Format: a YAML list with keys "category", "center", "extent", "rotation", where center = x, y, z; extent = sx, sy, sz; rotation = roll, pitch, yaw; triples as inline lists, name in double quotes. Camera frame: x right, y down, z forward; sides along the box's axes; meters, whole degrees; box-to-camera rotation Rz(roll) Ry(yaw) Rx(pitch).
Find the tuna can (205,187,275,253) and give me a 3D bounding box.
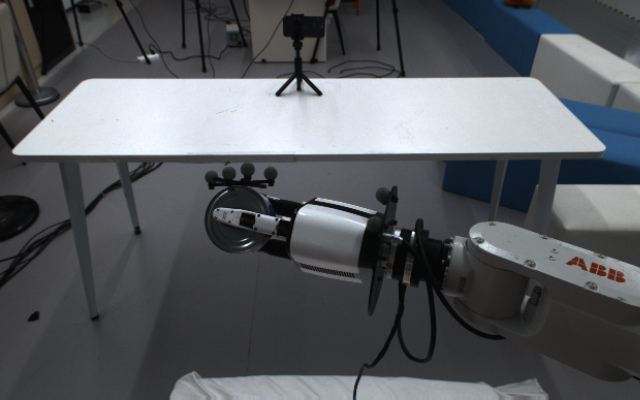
- category: "tuna can"
  center: [-0.098, 0.030, 0.615]
  extent: [0.085, 0.085, 0.034]
  rotation: [9, -6, 10]
